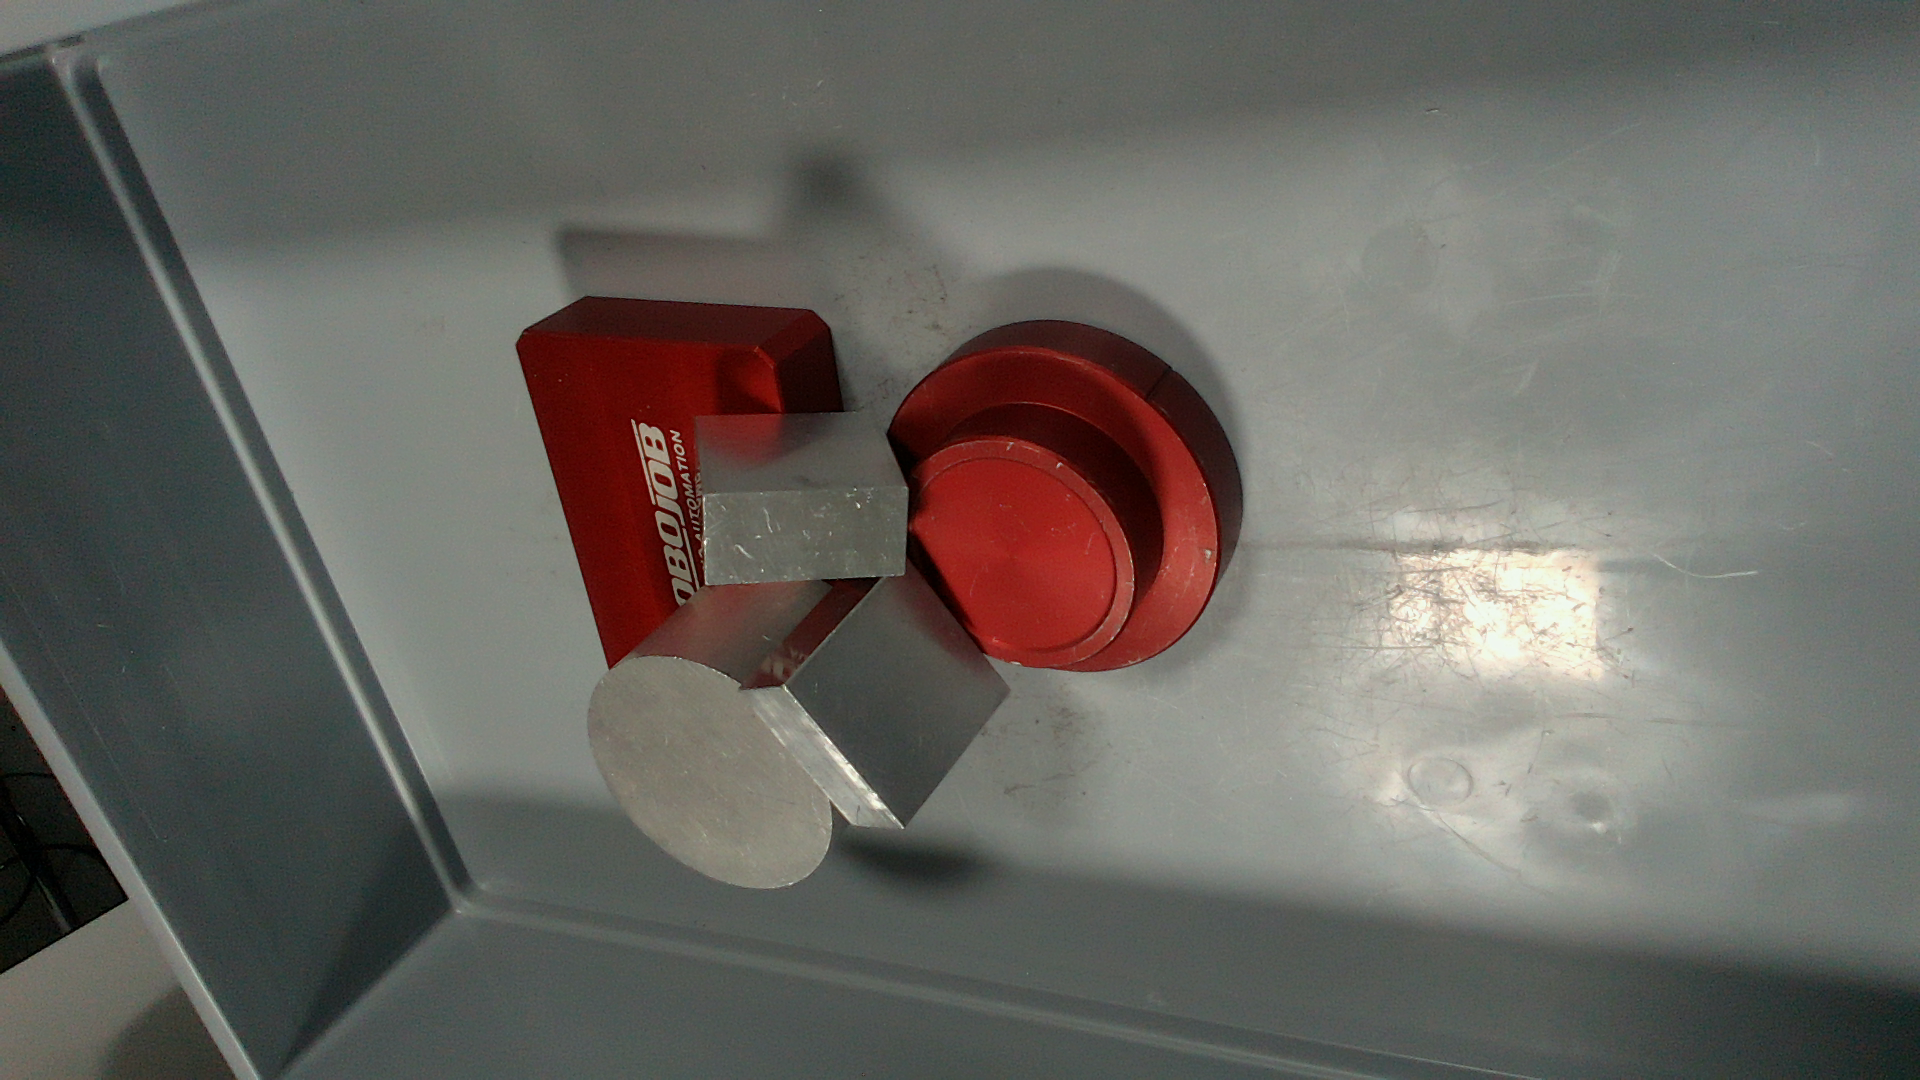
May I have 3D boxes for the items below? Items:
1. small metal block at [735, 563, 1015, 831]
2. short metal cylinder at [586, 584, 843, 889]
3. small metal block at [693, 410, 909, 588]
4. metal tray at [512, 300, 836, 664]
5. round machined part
[{"bbox_3d":[-0.021,0.040,0.361,0.025,0.050,0.050,-12,120,53],"label":"small metal block"},{"bbox_3d":[-0.061,0.054,0.402,0.080,0.050,0.080,13,124,21],"label":"short metal cylinder"},{"bbox_3d":[-0.043,-0.012,0.358,0.050,0.050,0.025,-3,118,-12],"label":"small metal block"},{"bbox_3d":[-0.078,-0.005,0.424,0.090,0.030,0.130,7,122,24],"label":"metal tray"},{"bbox_3d":[0.022,-0.005,0.365,0.098,0.042,0.098,13,124,21],"label":"round machined part"}]
